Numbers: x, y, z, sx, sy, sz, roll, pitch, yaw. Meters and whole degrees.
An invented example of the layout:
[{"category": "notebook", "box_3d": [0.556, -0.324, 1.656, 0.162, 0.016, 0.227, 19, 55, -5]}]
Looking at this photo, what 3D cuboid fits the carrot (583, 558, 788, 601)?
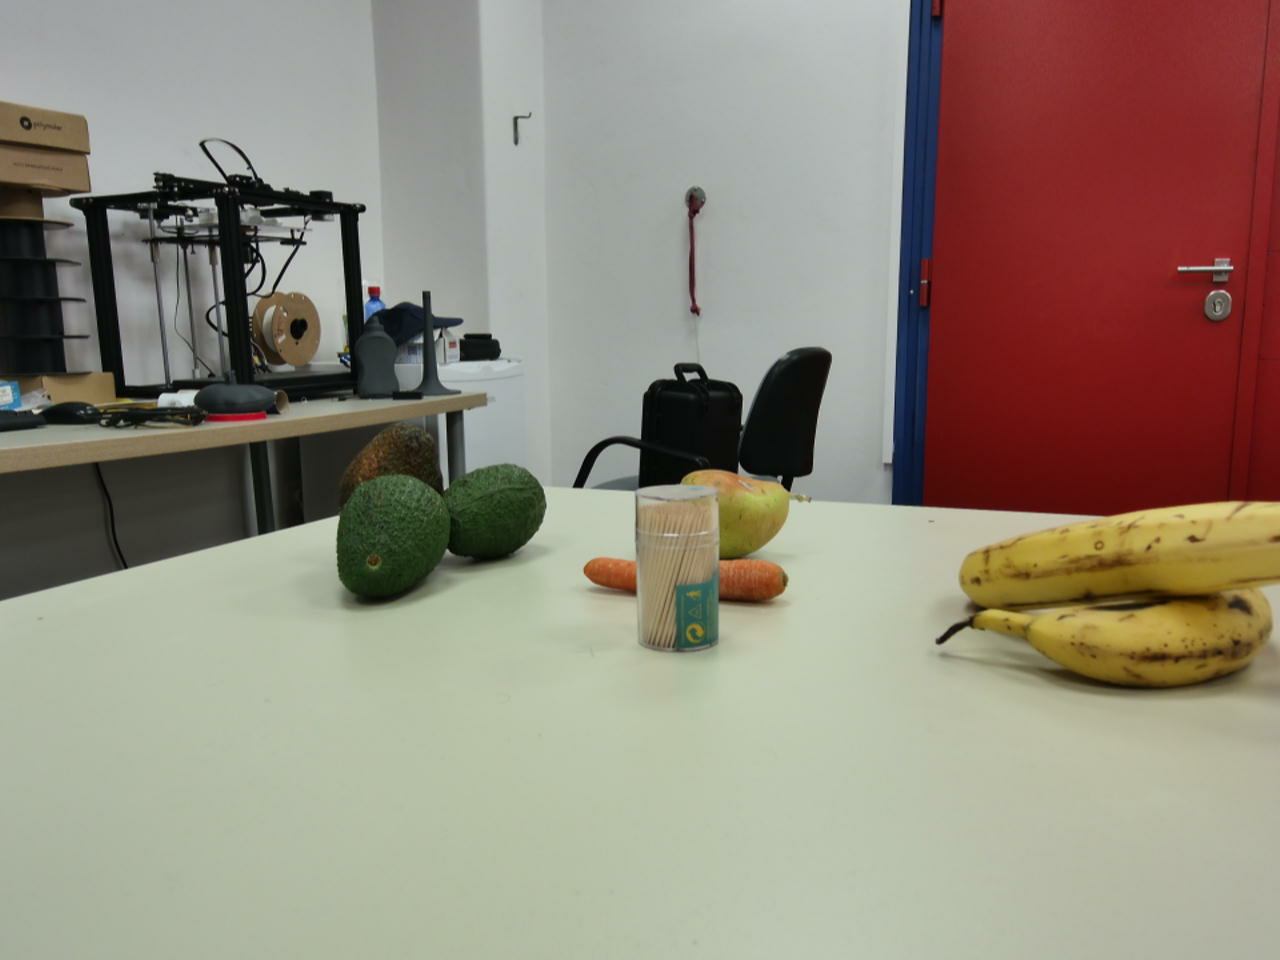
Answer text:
[{"category": "carrot", "box_3d": [0.024, 0.055, 0.578, 0.122, 0.023, 0.024, 3, 7, 21]}]
